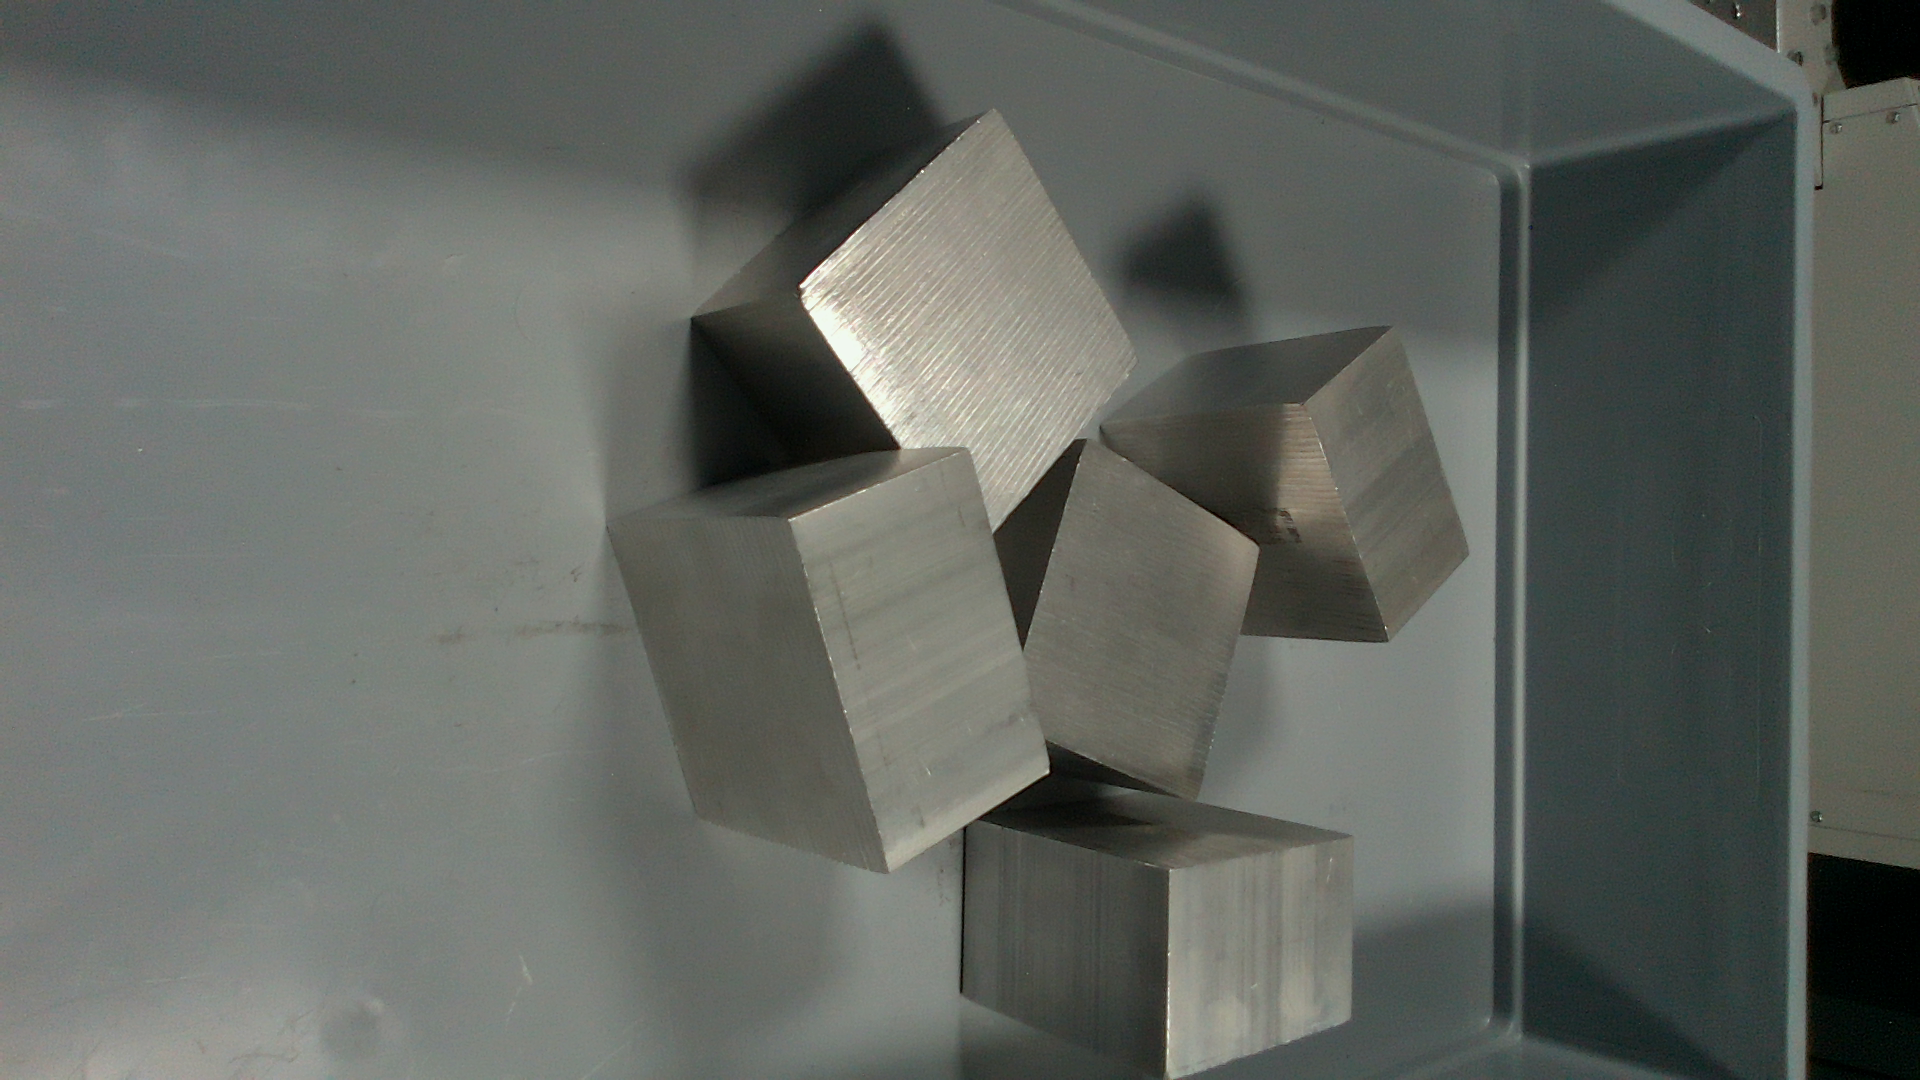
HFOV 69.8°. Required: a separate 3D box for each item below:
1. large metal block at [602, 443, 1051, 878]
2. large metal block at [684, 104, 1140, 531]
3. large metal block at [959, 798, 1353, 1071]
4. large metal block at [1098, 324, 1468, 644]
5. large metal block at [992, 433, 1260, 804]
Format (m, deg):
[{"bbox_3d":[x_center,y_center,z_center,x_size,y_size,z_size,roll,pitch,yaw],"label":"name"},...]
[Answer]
[{"bbox_3d":[-0.033,0.025,0.325,0.050,0.080,0.080,-24,105,-37],"label":"large metal block"},{"bbox_3d":[-0.010,-0.053,0.363,0.080,0.050,0.080,-50,119,-28],"label":"large metal block"},{"bbox_3d":[0.056,0.108,0.400,0.080,0.080,0.050,1,89,-40],"label":"large metal block"},{"bbox_3d":[0.102,-0.017,0.436,0.050,0.080,0.080,-38,113,-33],"label":"large metal block"},{"bbox_3d":[0.034,0.024,0.400,0.080,0.050,0.080,28,72,-36],"label":"large metal block"}]
